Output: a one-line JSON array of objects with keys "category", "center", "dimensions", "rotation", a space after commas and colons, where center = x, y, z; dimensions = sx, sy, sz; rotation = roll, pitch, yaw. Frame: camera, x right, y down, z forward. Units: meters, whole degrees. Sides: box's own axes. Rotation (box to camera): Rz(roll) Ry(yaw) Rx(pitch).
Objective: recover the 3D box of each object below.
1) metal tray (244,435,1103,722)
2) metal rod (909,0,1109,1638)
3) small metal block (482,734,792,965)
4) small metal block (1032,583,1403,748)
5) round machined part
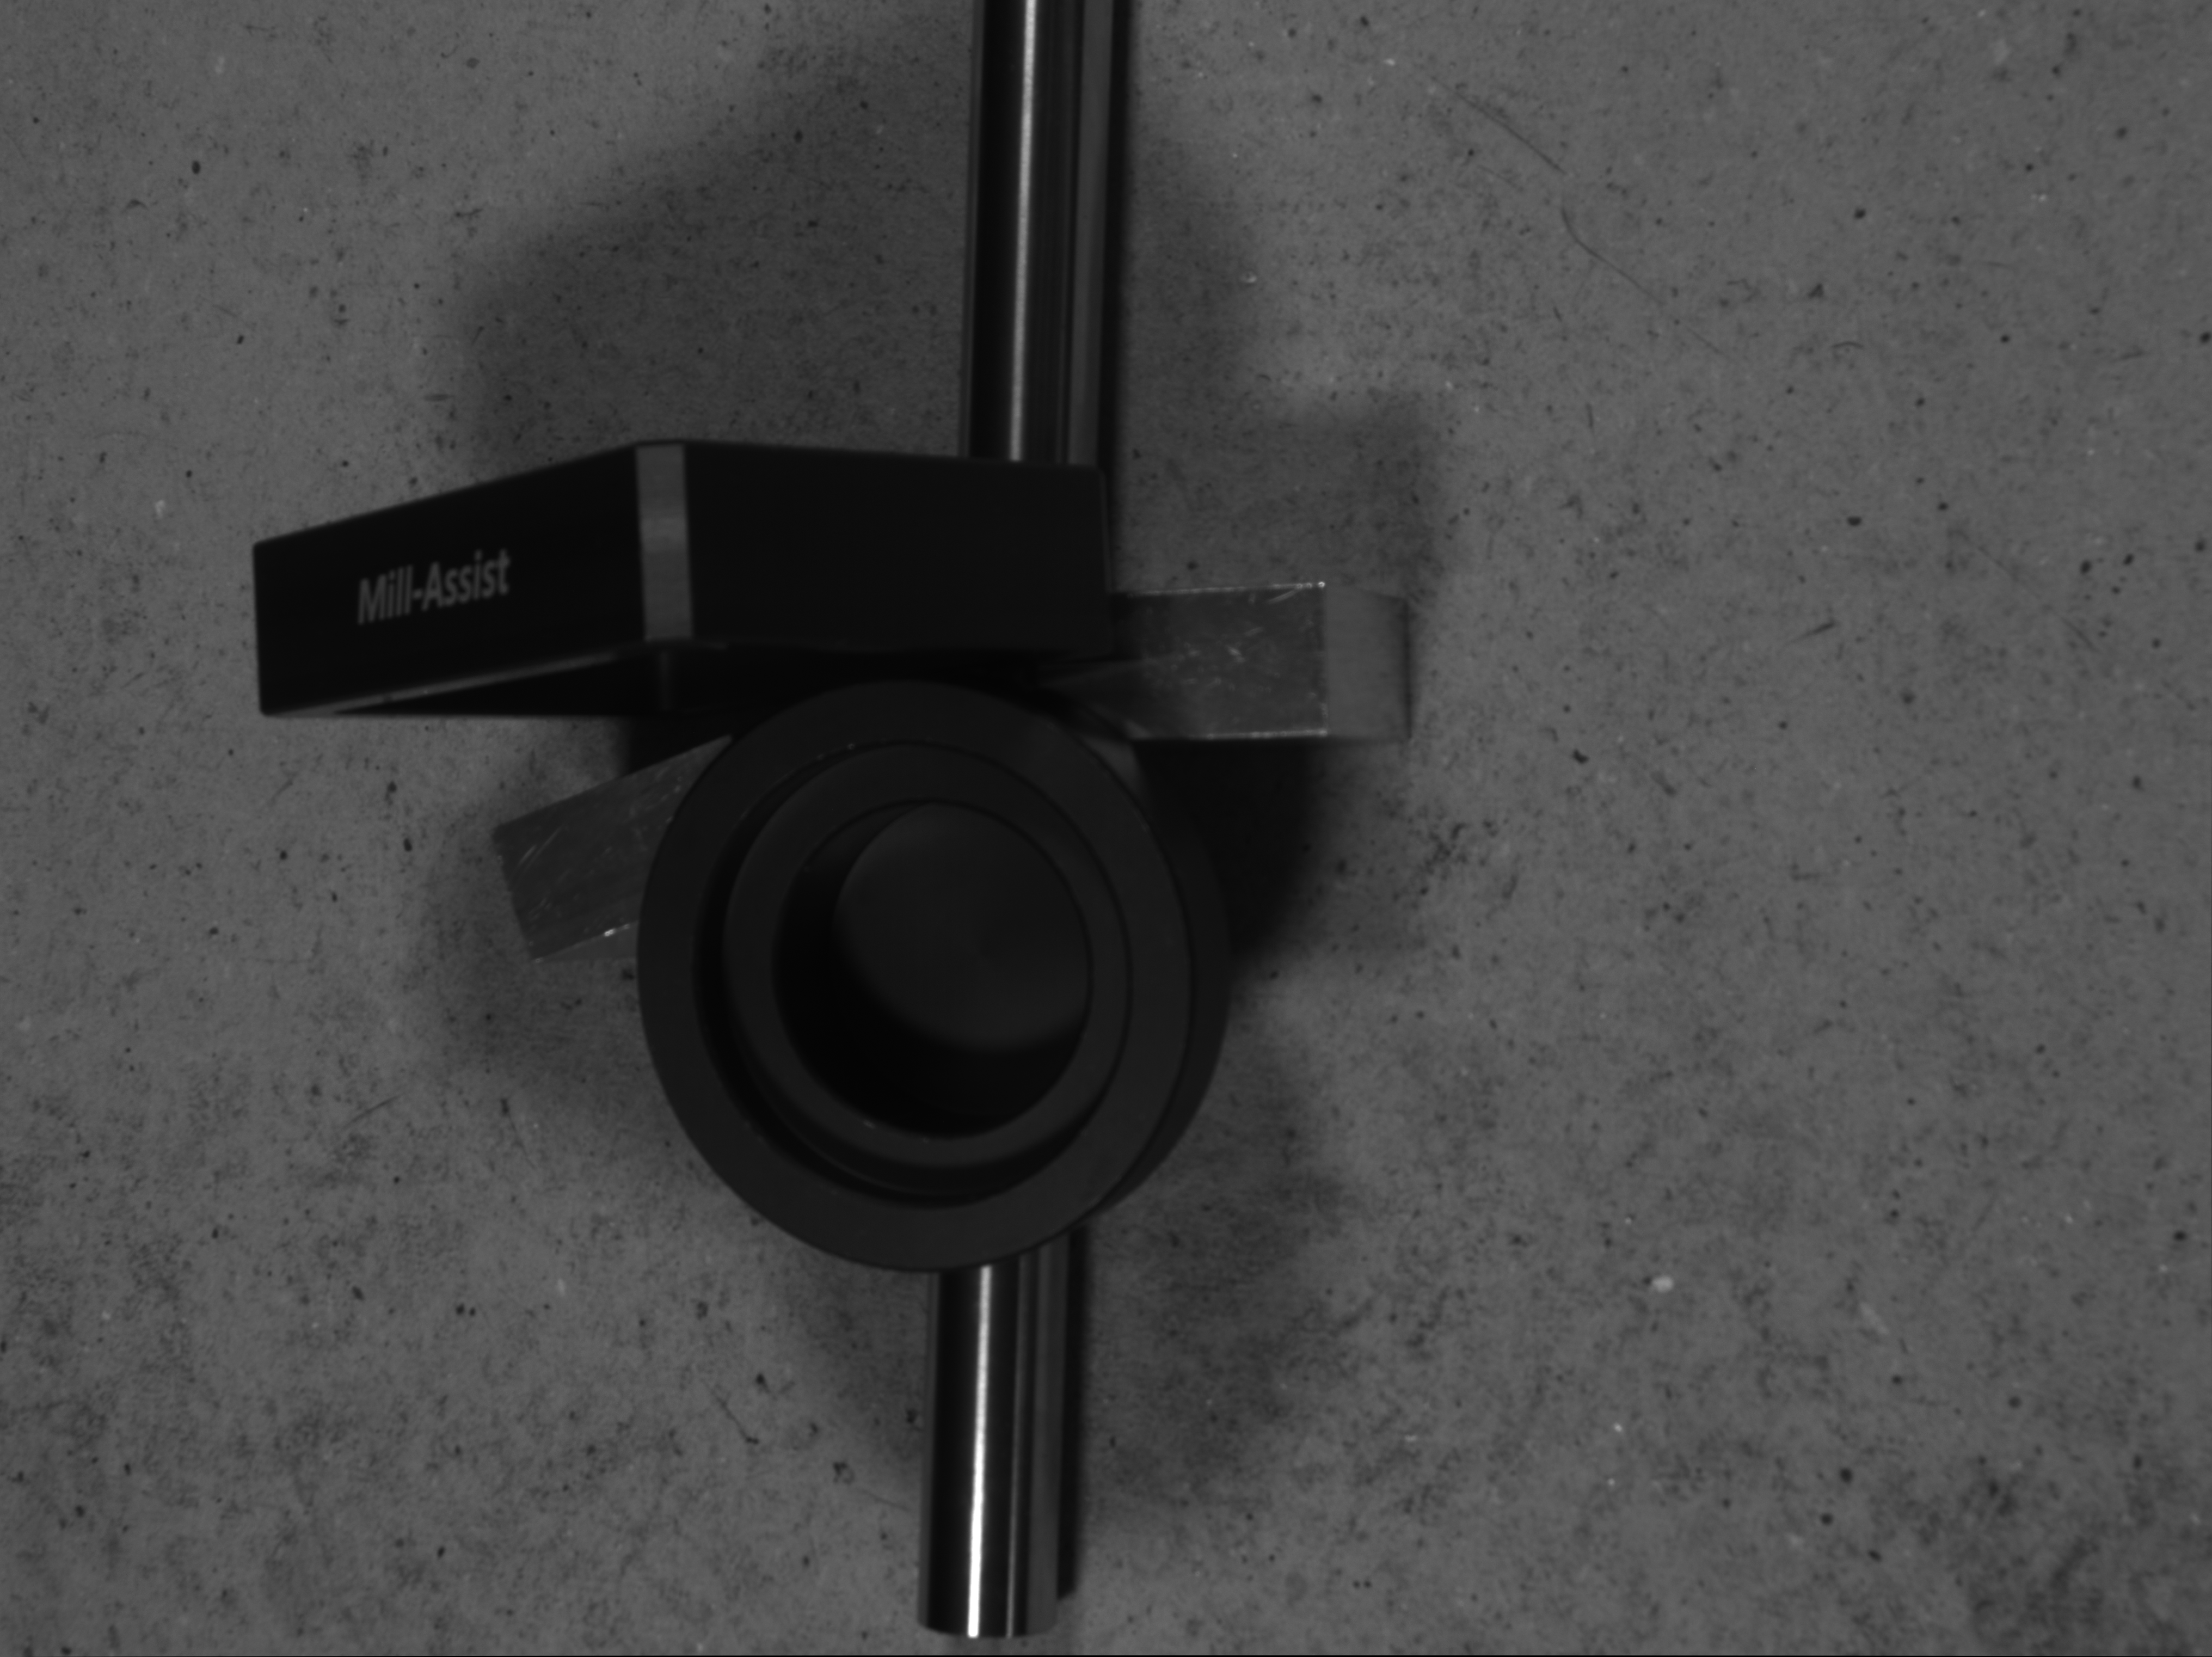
[{"category": "metal tray", "center": [-0.074, -0.039, 0.612], "dimensions": [0.130, 0.090, 0.030], "rotation": [-6, 86, 49]}, {"category": "metal rod", "center": [-0.017, -0.009, 0.651], "dimensions": [0.025, 0.025, 0.300], "rotation": [2, 91, 20]}, {"category": "small metal block", "center": [-0.075, 0.004, 0.658], "dimensions": [0.050, 0.050, 0.025], "rotation": [-20, 83, 19]}, {"category": "small metal block", "center": [0.020, -0.026, 0.624], "dimensions": [0.050, 0.050, 0.025], "rotation": [-2, 89, 20]}, {"category": "round machined part", "center": [-0.027, 0.023, 0.616], "dimensions": [0.098, 0.042, 0.098], "rotation": [1, 94, 18]}]
